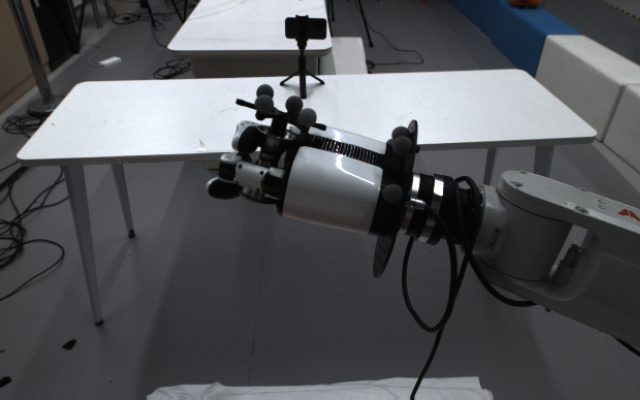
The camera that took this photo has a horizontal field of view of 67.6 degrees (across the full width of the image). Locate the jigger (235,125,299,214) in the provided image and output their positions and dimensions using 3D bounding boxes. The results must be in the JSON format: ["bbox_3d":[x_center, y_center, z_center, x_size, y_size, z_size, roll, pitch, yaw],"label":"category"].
[{"bbox_3d":[-0.051,-0.034,0.481,0.043,0.071,0.043,18,17,-6],"label":"jigger"}]
